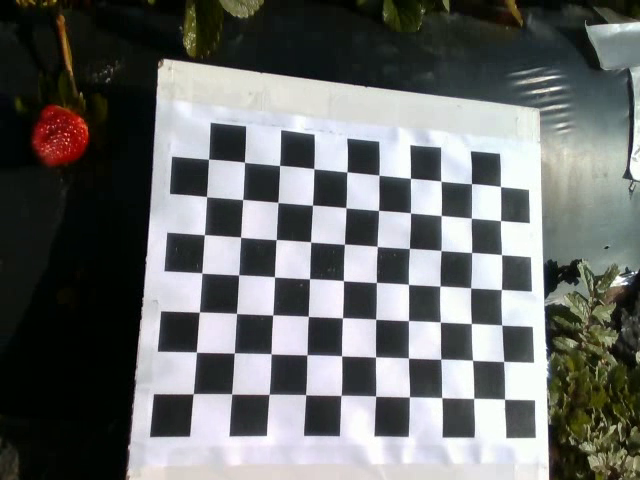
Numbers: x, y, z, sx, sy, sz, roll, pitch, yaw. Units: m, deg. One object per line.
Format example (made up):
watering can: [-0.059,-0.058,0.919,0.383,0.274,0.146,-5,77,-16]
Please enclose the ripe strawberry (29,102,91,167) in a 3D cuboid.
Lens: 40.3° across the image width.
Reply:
ripe strawberry: [-0.059,-0.023,0.178,0.015,0.015,0.023,13,27,-20]
